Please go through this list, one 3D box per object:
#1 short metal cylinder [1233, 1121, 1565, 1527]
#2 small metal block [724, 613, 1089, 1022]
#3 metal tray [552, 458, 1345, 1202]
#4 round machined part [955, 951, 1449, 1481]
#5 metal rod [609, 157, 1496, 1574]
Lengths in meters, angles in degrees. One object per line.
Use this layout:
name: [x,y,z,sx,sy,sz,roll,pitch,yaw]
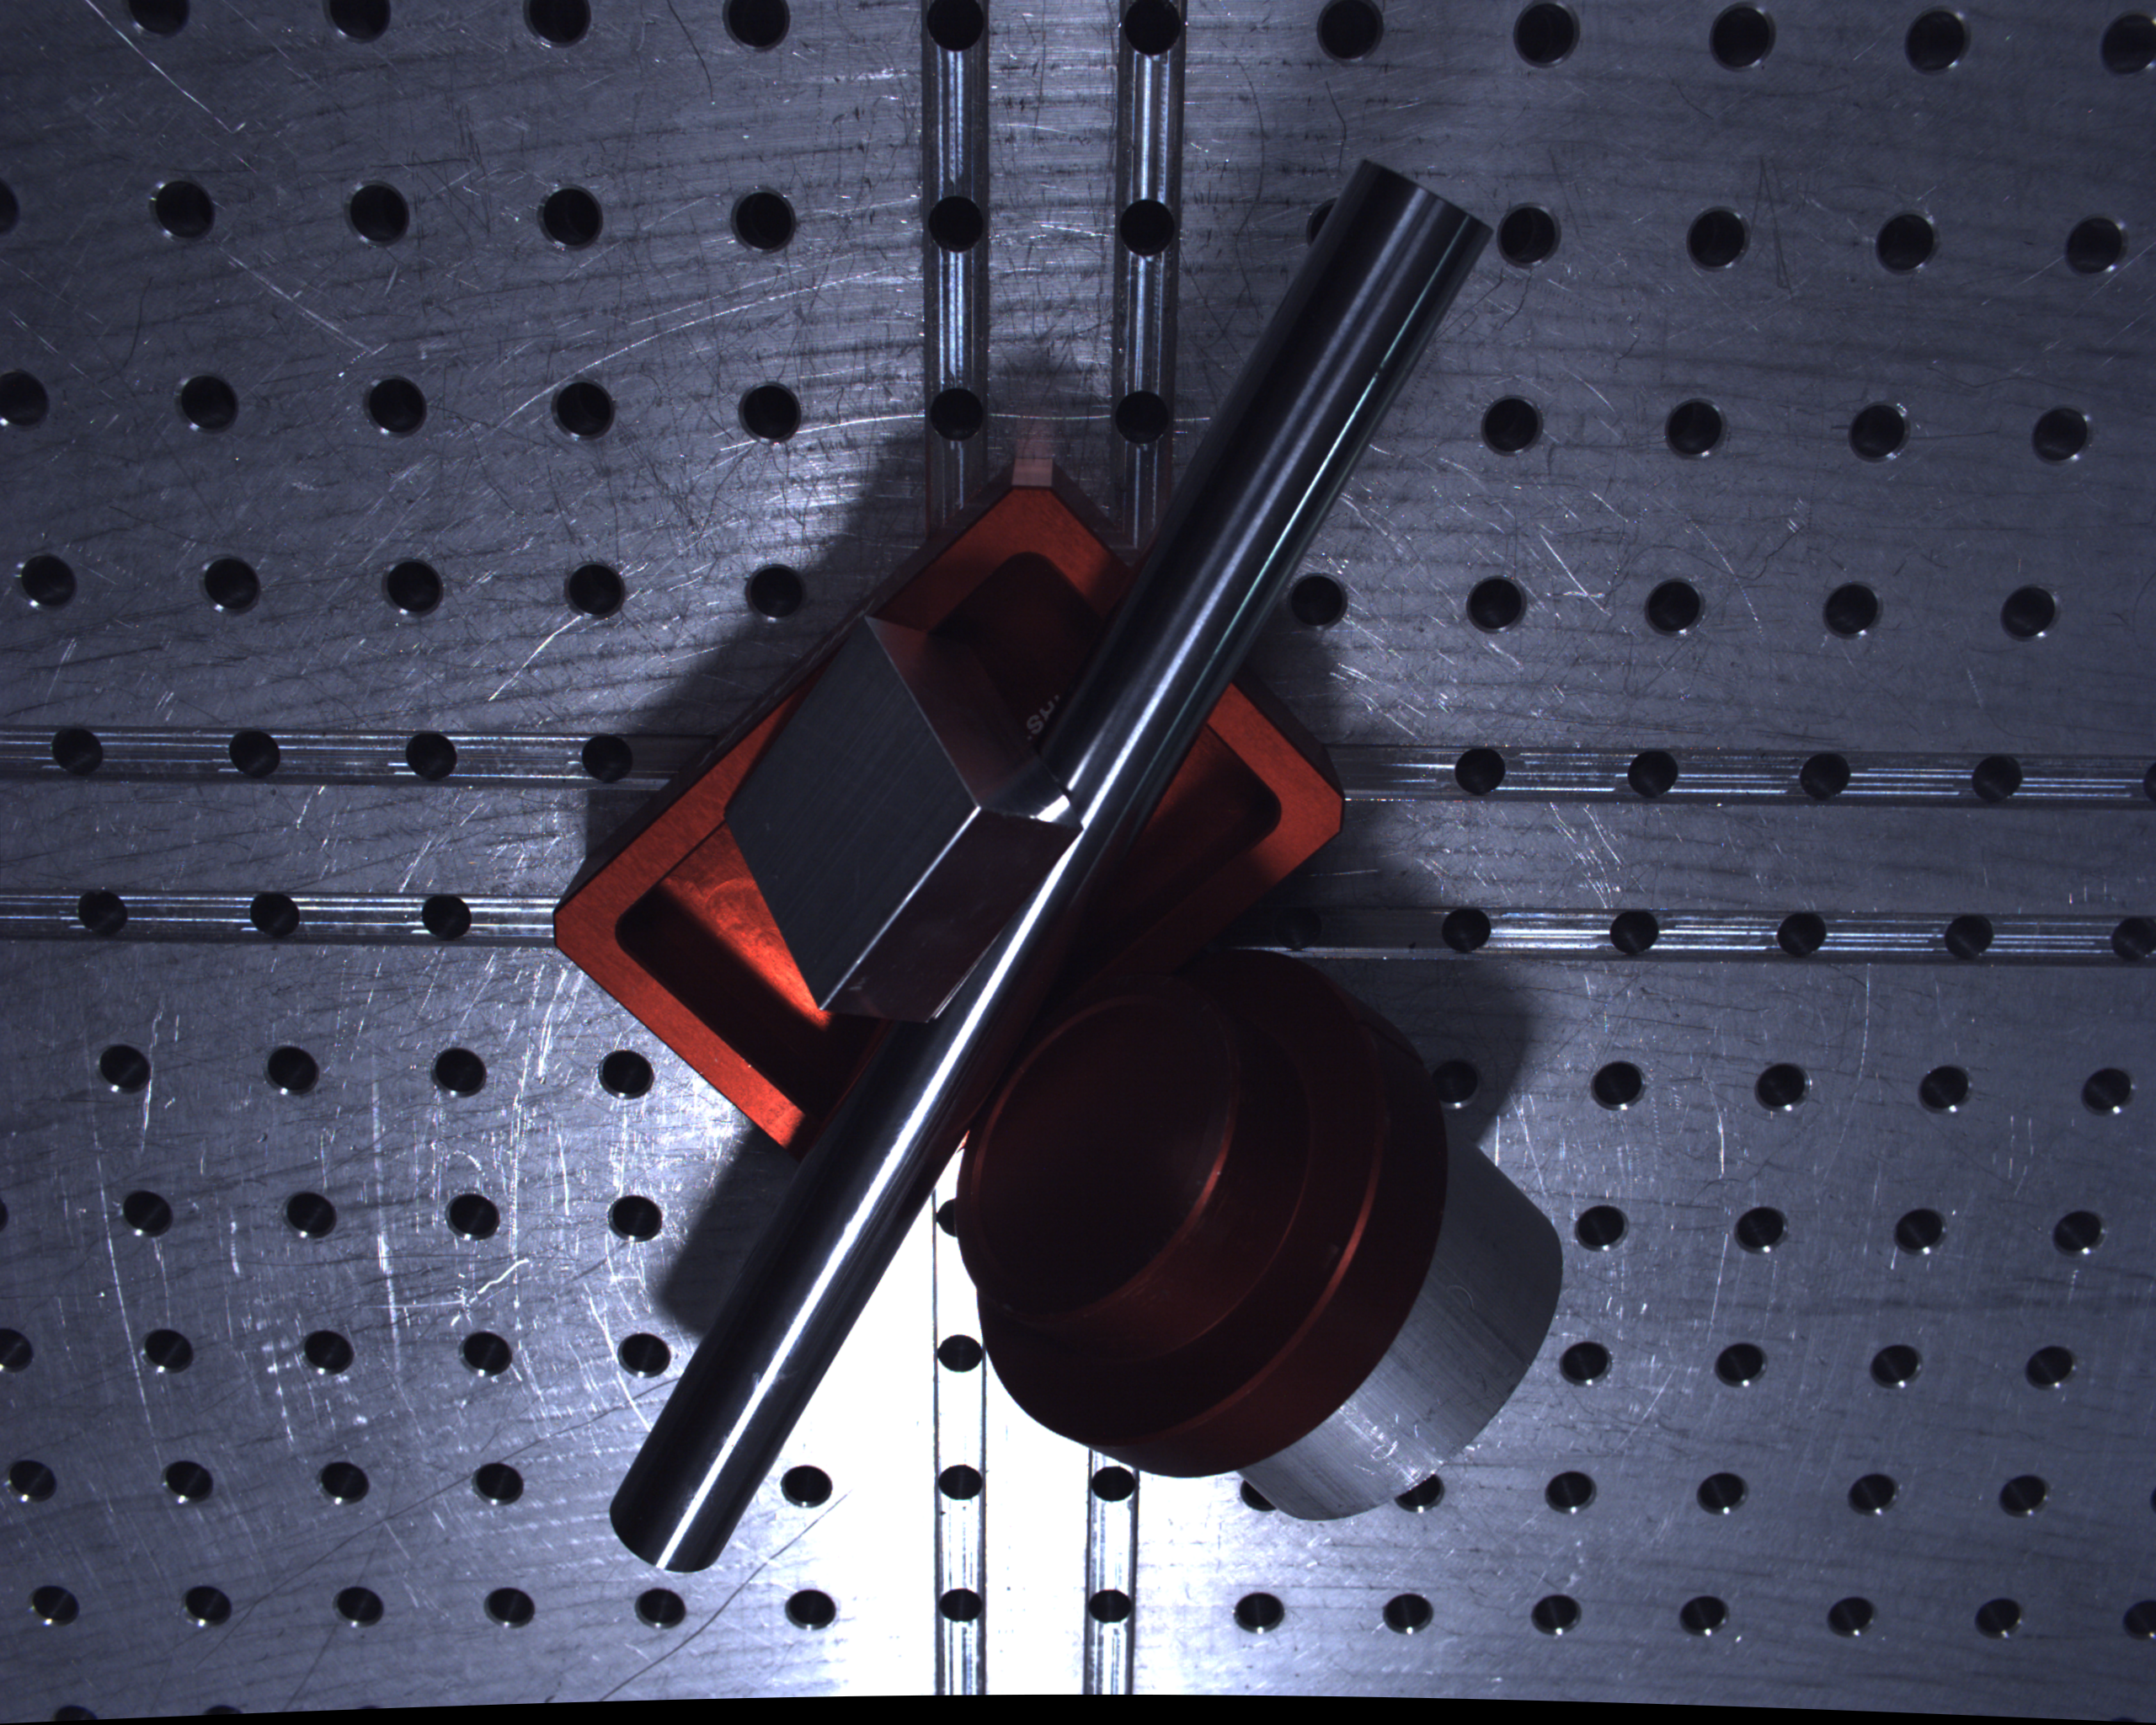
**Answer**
short metal cylinder: [0.048,0.083,0.414,0.080,0.080,0.050,-41,105,13]
small metal block: [-0.032,-0.008,0.373,0.025,0.050,0.050,11,127,-45]
metal tray: [-0.025,-0.003,0.408,0.130,0.030,0.090,-41,106,13]
round machined part: [0.016,0.060,0.386,0.098,0.098,0.042,-44,127,14]
metal rod: [-0.014,0.014,0.386,0.025,0.025,0.298,27,108,-10]
